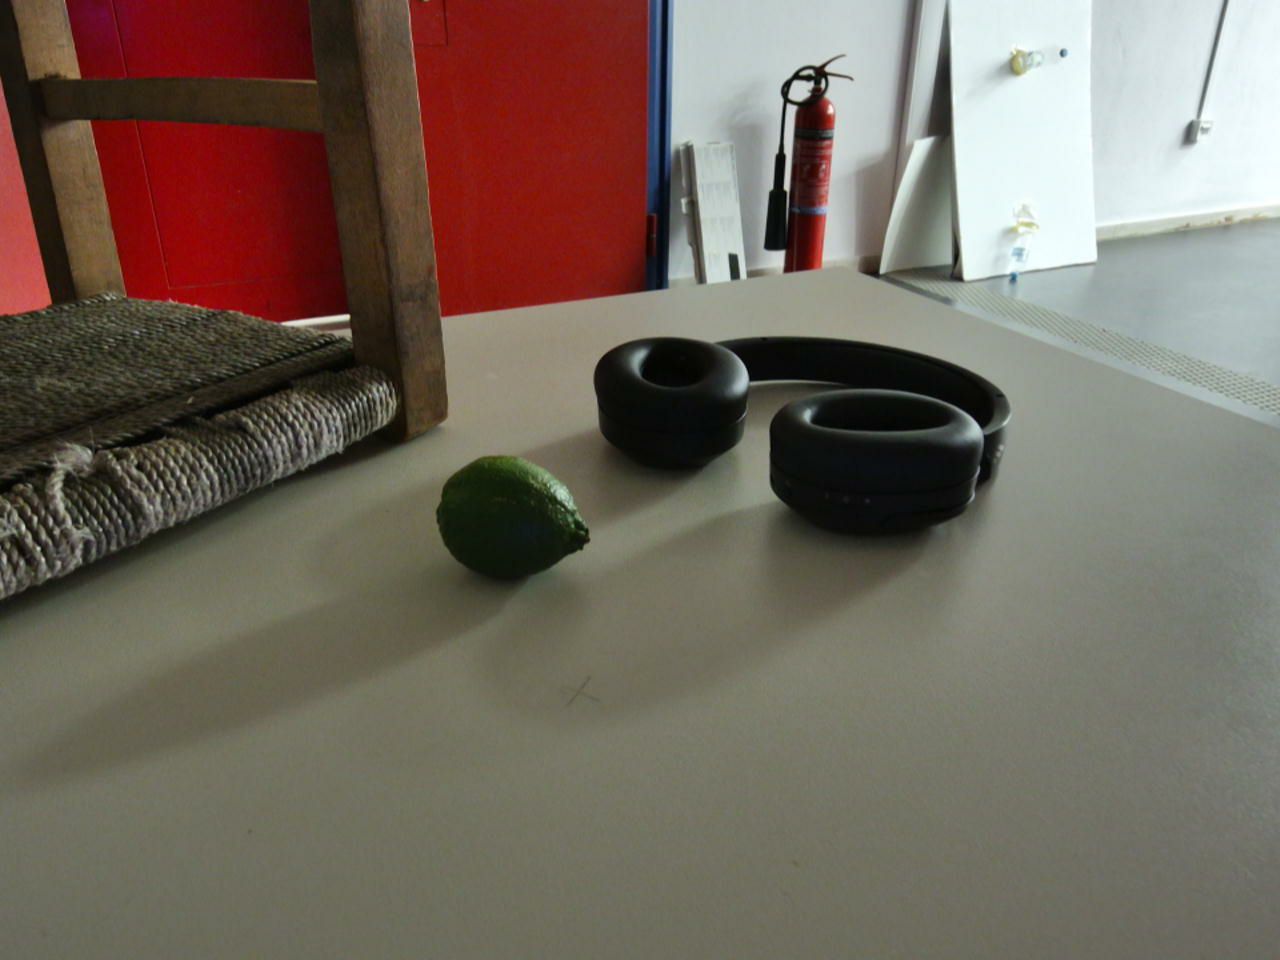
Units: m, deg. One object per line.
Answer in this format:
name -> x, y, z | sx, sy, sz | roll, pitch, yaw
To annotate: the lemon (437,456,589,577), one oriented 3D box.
lemon -> -0.056, 0.015, 0.420 | 0.057, 0.051, 0.054 | -13, 27, -27
